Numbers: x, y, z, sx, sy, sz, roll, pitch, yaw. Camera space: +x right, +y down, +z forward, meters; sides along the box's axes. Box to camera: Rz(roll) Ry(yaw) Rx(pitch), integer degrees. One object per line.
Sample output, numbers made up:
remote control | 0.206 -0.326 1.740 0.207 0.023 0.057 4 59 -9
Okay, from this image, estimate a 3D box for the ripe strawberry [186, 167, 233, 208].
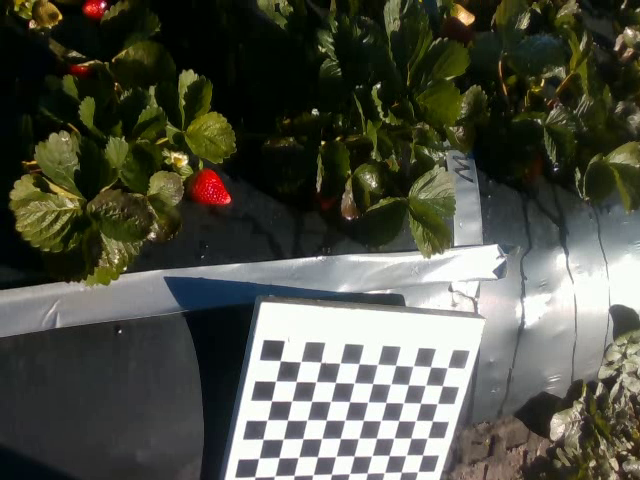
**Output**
ripe strawberry | -0.121 -0.054 0.730 0.059 0.045 0.042 37 0 -10
